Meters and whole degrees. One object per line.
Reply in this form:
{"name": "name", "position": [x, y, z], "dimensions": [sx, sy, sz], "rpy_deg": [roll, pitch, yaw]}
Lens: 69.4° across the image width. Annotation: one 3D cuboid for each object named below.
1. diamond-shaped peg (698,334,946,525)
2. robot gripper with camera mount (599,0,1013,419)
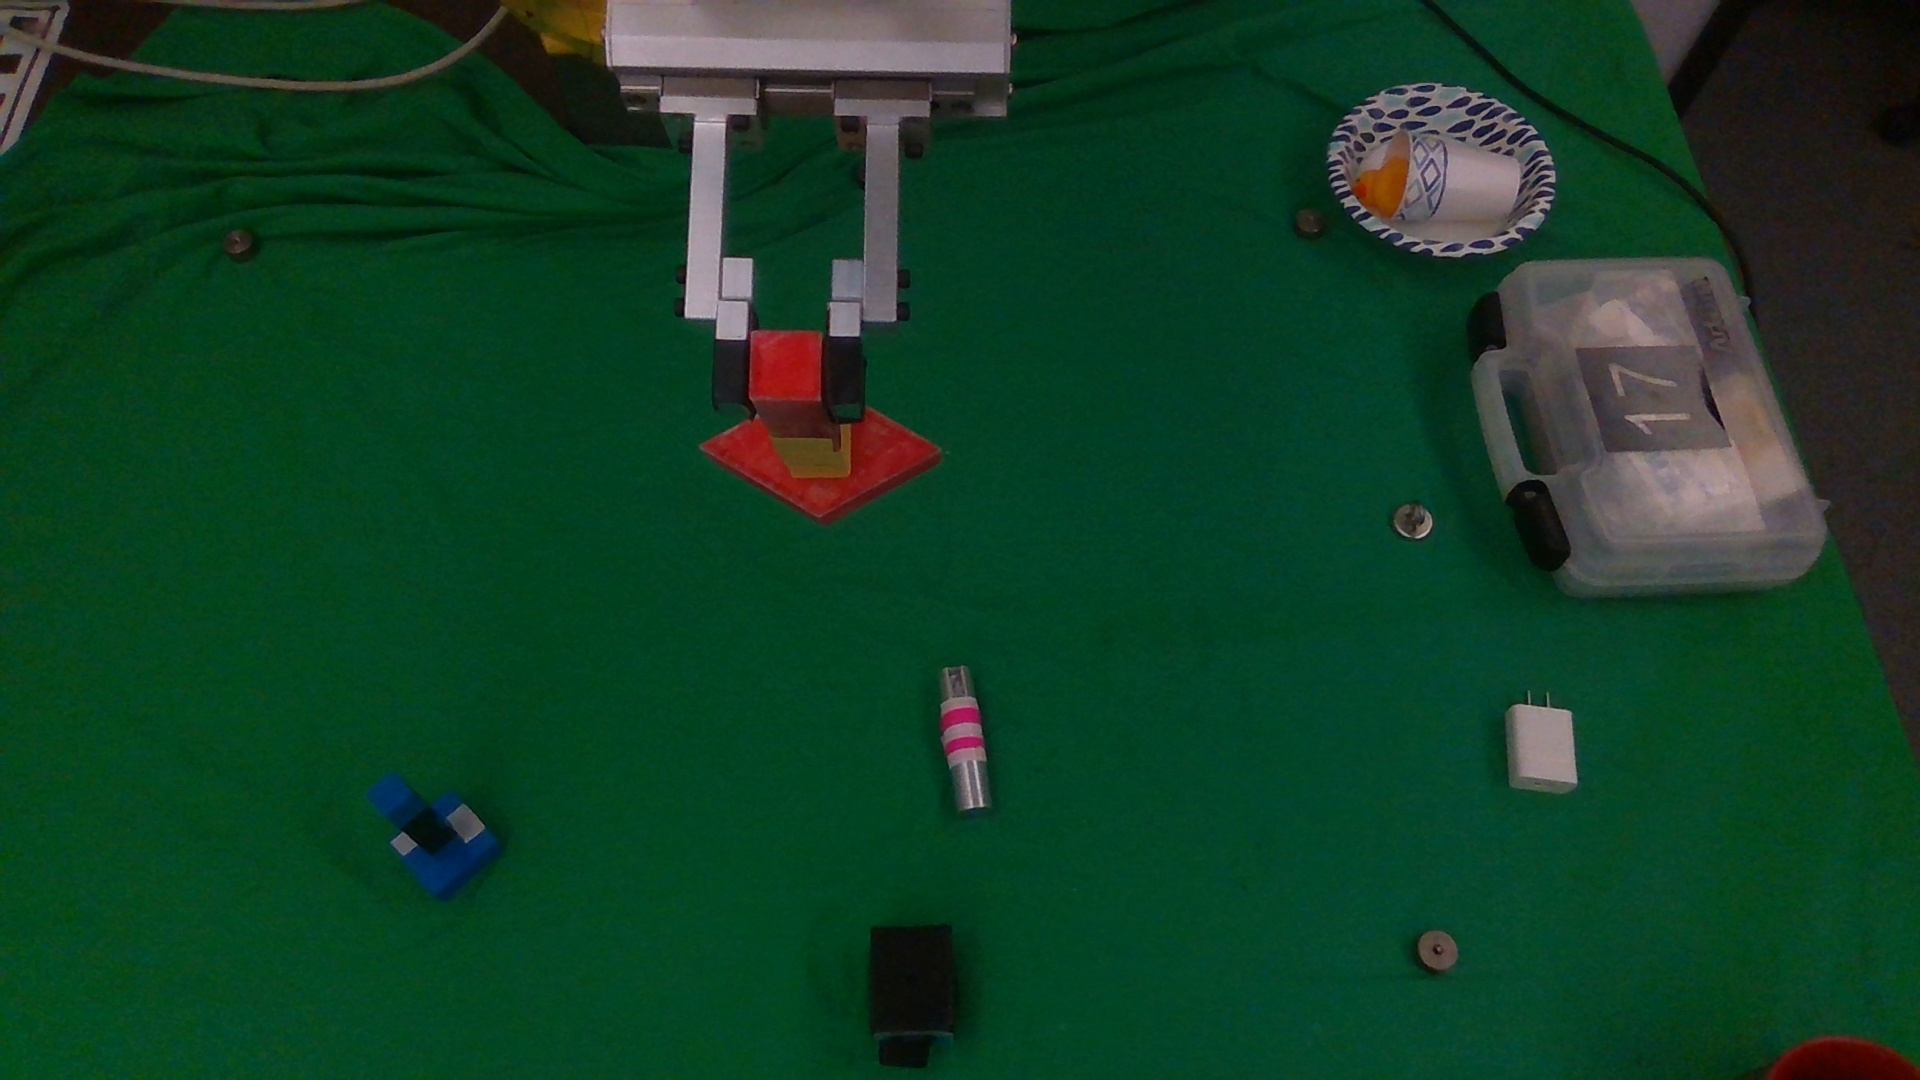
{"name": "diamond-shaped peg", "position": [-0.048, -0.038, 0.435], "dimensions": [0.074, 0.122, 0.045], "rpy_deg": [-29, 83, -3]}
{"name": "robot gripper with camera mount", "position": [-0.036, -0.126, 0.332], "dimensions": [0.119, 0.193, 0.158], "rpy_deg": [1, 81, -7]}
